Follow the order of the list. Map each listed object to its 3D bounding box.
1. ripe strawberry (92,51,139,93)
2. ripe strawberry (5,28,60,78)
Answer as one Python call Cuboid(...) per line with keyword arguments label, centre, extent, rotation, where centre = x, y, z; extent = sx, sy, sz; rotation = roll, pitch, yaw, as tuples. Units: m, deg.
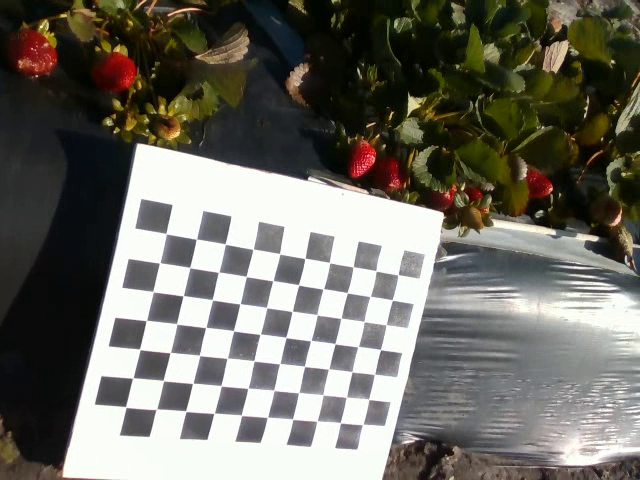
Cuboid(label="ripe strawberry", centre=(-0.176, -0.145, 0.567), extent=(0.042, 0.039, 0.049), rotation=(-34, 46, -13))
Cuboid(label="ripe strawberry", centre=(-0.241, -0.154, 0.534), extent=(0.050, 0.045, 0.050), rotation=(30, 18, -25))
